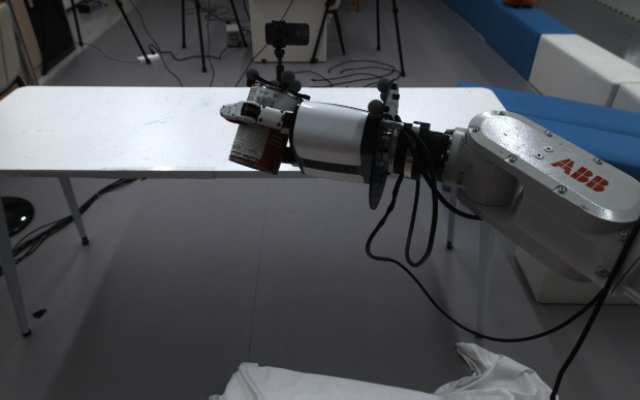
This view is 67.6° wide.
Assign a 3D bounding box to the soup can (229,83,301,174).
[{"bbox_3d":[-0.071,-0.089,0.625,0.067,0.101,0.067,17,-1,0],"label":"soup can"}]
